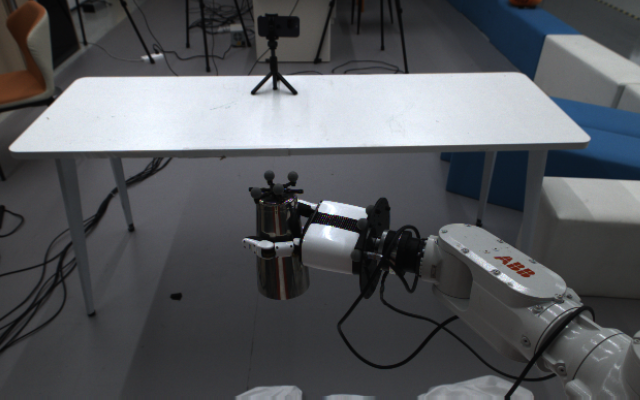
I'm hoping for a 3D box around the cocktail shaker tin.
[{"bbox_3d":[-0.065,0.068,0.804,0.093,0.170,0.093,-2,26,1],"label":"cocktail shaker tin"}]
